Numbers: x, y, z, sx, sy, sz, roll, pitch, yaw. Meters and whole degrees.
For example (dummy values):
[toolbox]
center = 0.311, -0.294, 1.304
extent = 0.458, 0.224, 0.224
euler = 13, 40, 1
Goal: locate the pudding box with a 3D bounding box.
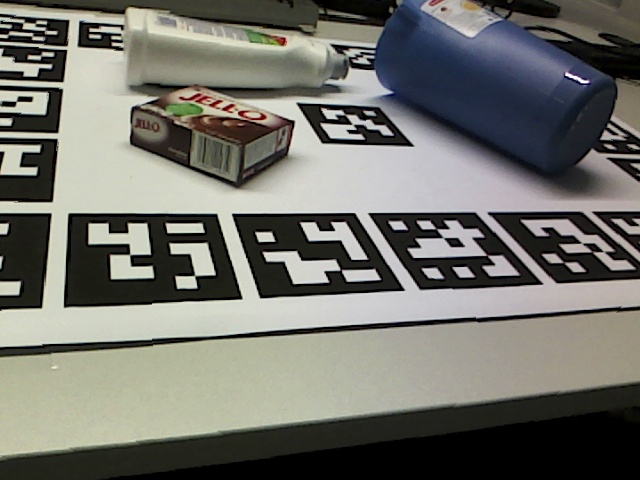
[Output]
[pudding box]
center = -0.093, -0.096, 0.546
extent = 0.114, 0.038, 0.090
euler = 26, 31, 17

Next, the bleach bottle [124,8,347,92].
[bleach bottle]
center = -0.085, -0.207, 0.694
extent = 0.249, 0.068, 0.103
euler = -3, 41, -23

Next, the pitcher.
[pitcher]
center = 0.193, -0.165, 0.688
extent = 0.244, 0.133, 0.187
euler = 44, 11, 30
